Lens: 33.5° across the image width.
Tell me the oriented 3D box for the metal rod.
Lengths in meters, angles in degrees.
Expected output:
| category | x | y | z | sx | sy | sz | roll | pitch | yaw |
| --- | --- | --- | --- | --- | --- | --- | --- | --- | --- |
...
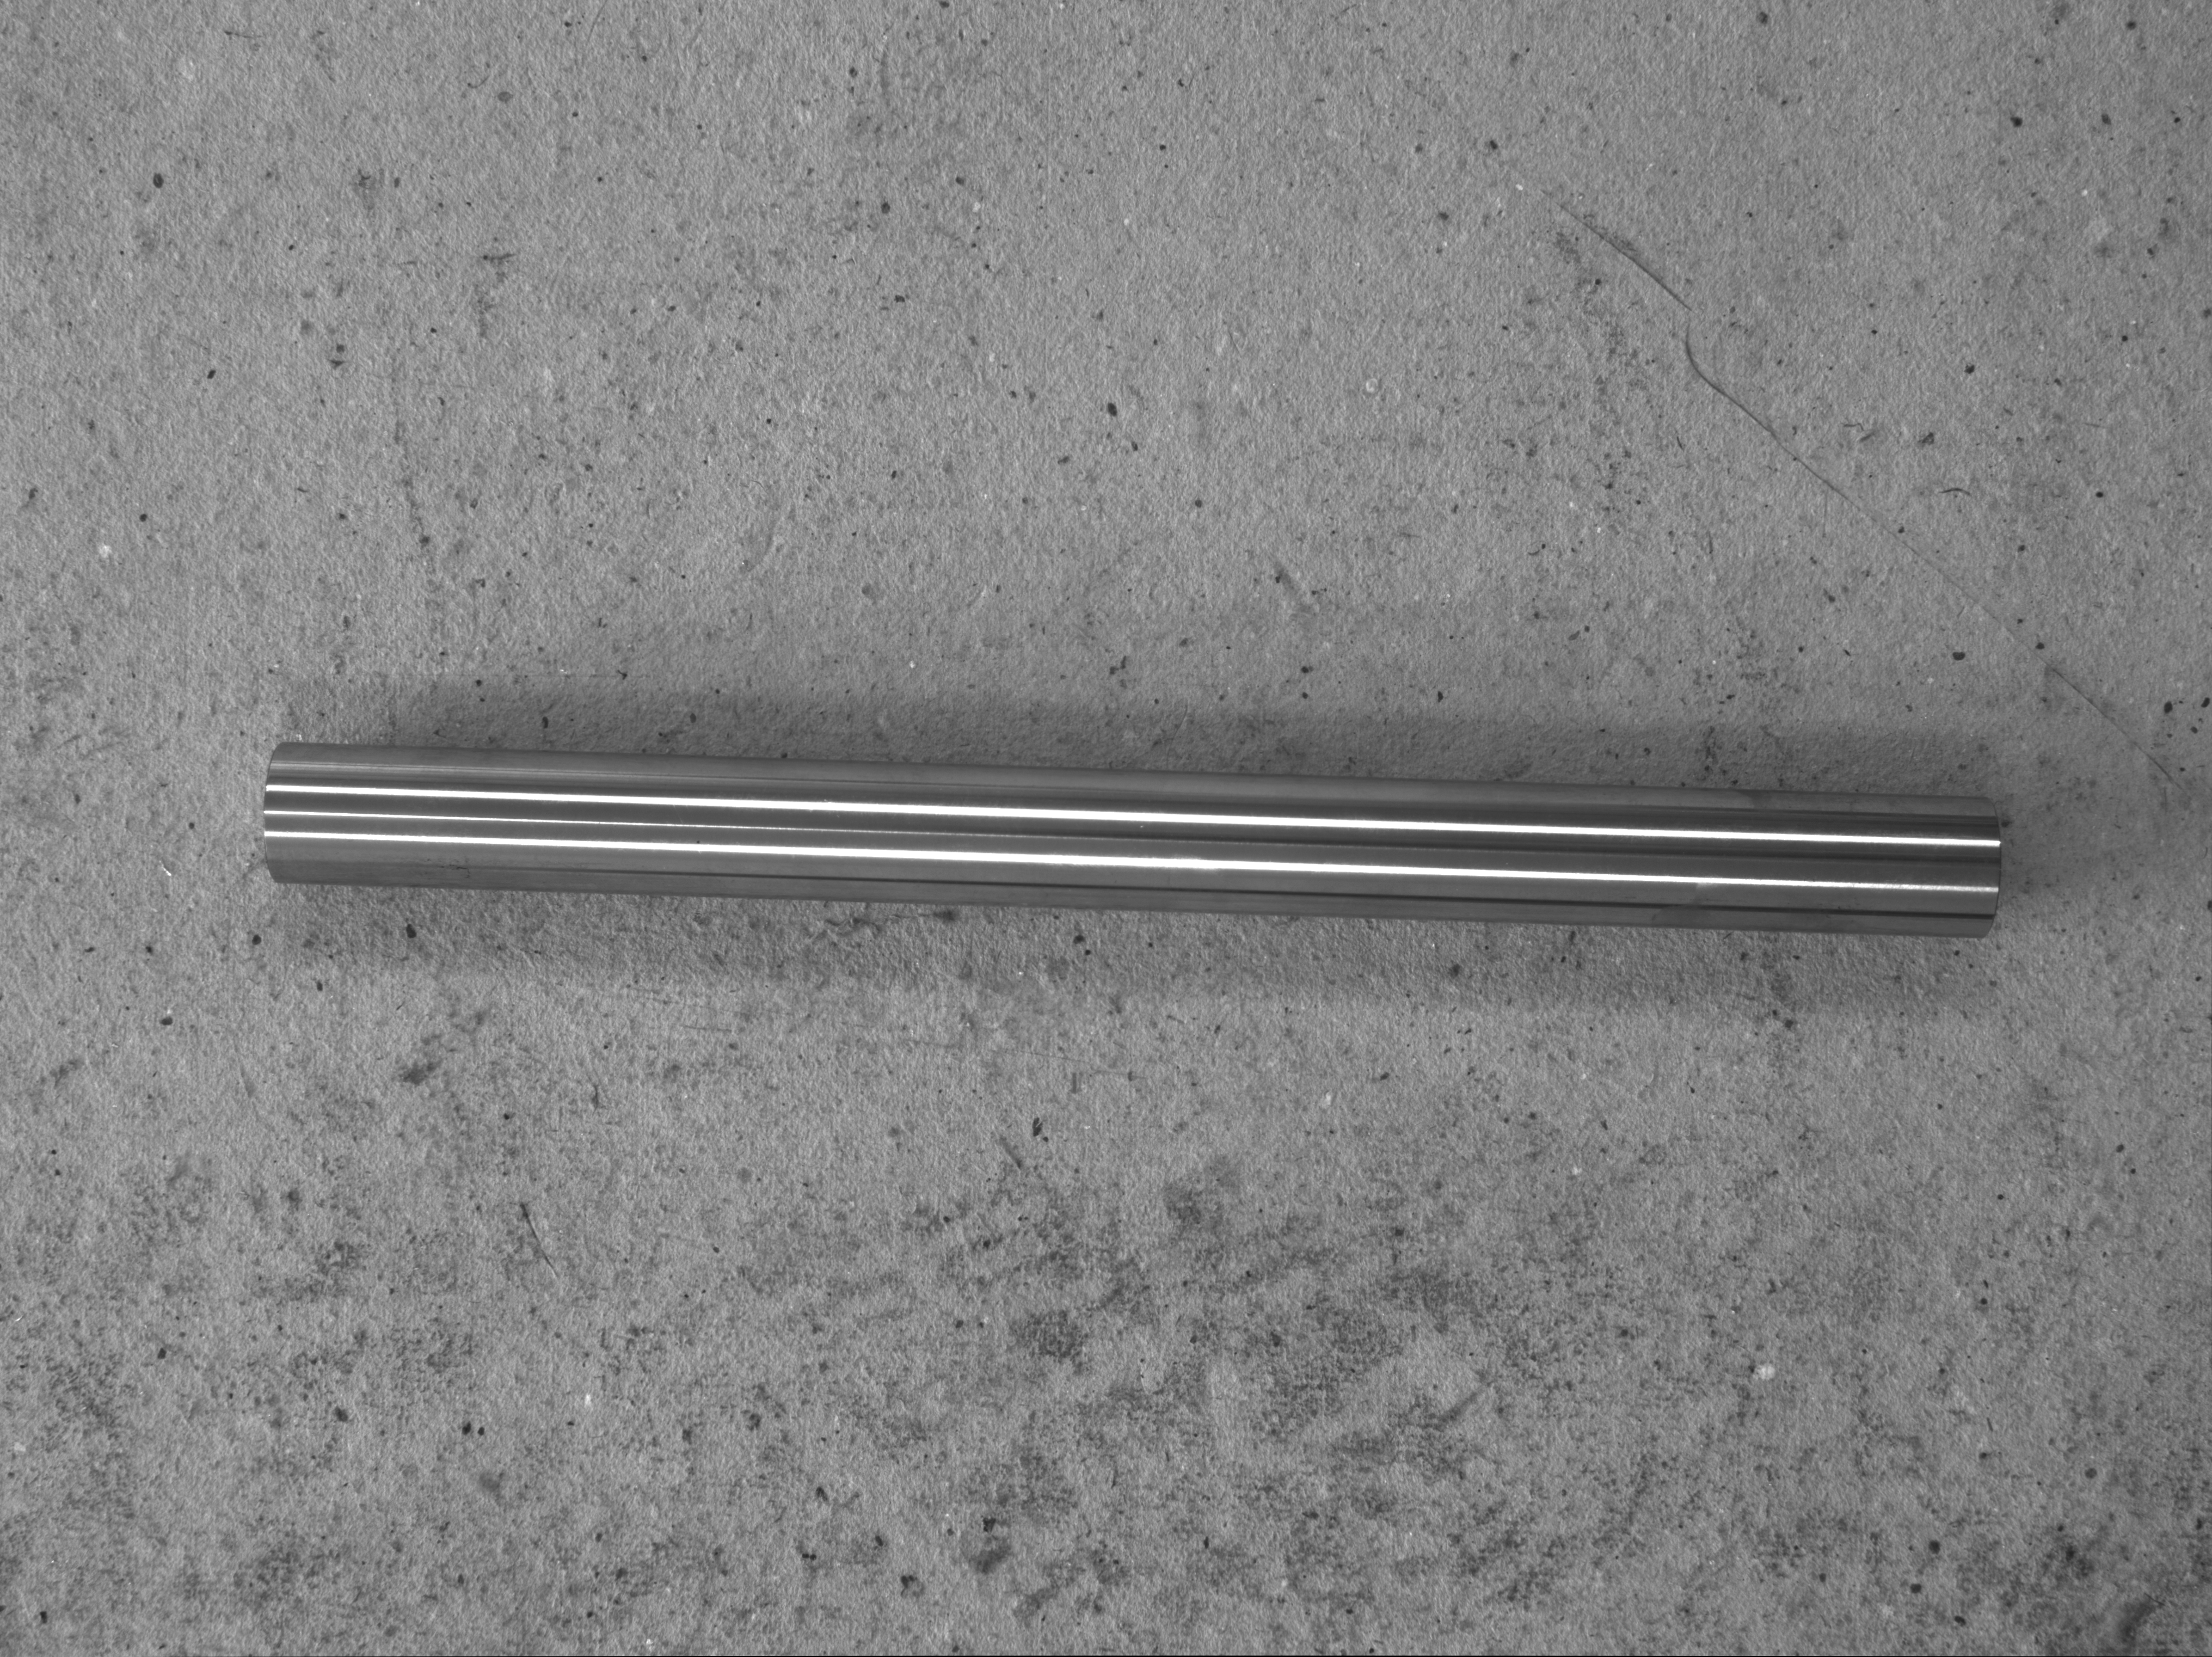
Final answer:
| category | x | y | z | sx | sy | sz | roll | pitch | yaw |
| --- | --- | --- | --- | --- | --- | --- | --- | --- | --- |
| metal rod | 0.004 | 0.002 | 0.646 | 0.300 | 0.025 | 0.025 | 2 | 90 | 0 |
